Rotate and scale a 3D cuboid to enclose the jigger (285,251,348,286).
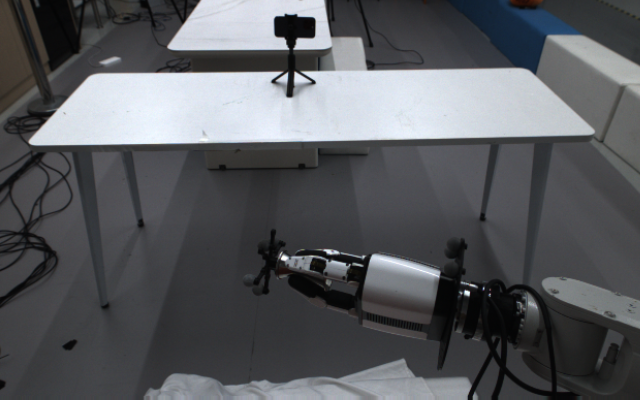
[{"bbox_3d":[-0.012,0.086,0.627,0.071,0.043,0.043,9,35,16],"label":"jigger"}]
